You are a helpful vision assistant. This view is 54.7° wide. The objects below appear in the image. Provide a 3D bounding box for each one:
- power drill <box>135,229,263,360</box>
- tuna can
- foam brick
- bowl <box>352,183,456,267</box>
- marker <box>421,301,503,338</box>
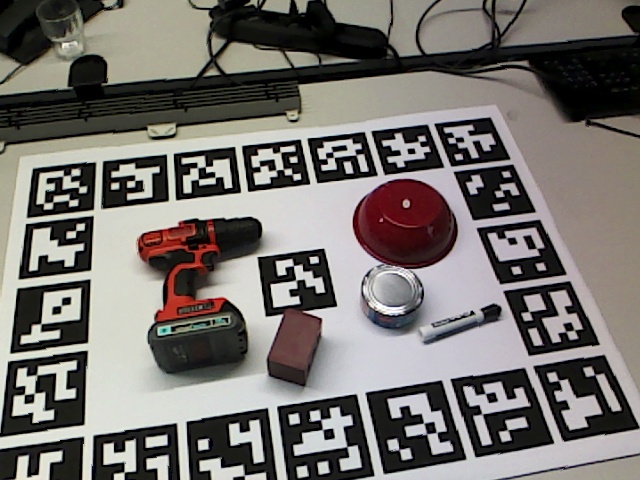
[{"bbox_3d":[-0.161,0.065,0.860,0.184,0.057,0.188,-7,52,-10],"label":"power drill"},{"bbox_3d":[0.104,0.075,0.865,0.086,0.033,0.086,2,54,-3],"label":"tuna can"},{"bbox_3d":[-0.027,0.142,0.812,0.051,0.052,0.078,12,56,6],"label":"foam brick"},{"bbox_3d":[0.129,-0.036,0.946,0.162,0.055,0.162,-2,48,2],"label":"bowl"},{"bbox_3d":[0.197,0.108,0.850,0.121,0.019,0.020,-16,58,-13],"label":"marker"}]
